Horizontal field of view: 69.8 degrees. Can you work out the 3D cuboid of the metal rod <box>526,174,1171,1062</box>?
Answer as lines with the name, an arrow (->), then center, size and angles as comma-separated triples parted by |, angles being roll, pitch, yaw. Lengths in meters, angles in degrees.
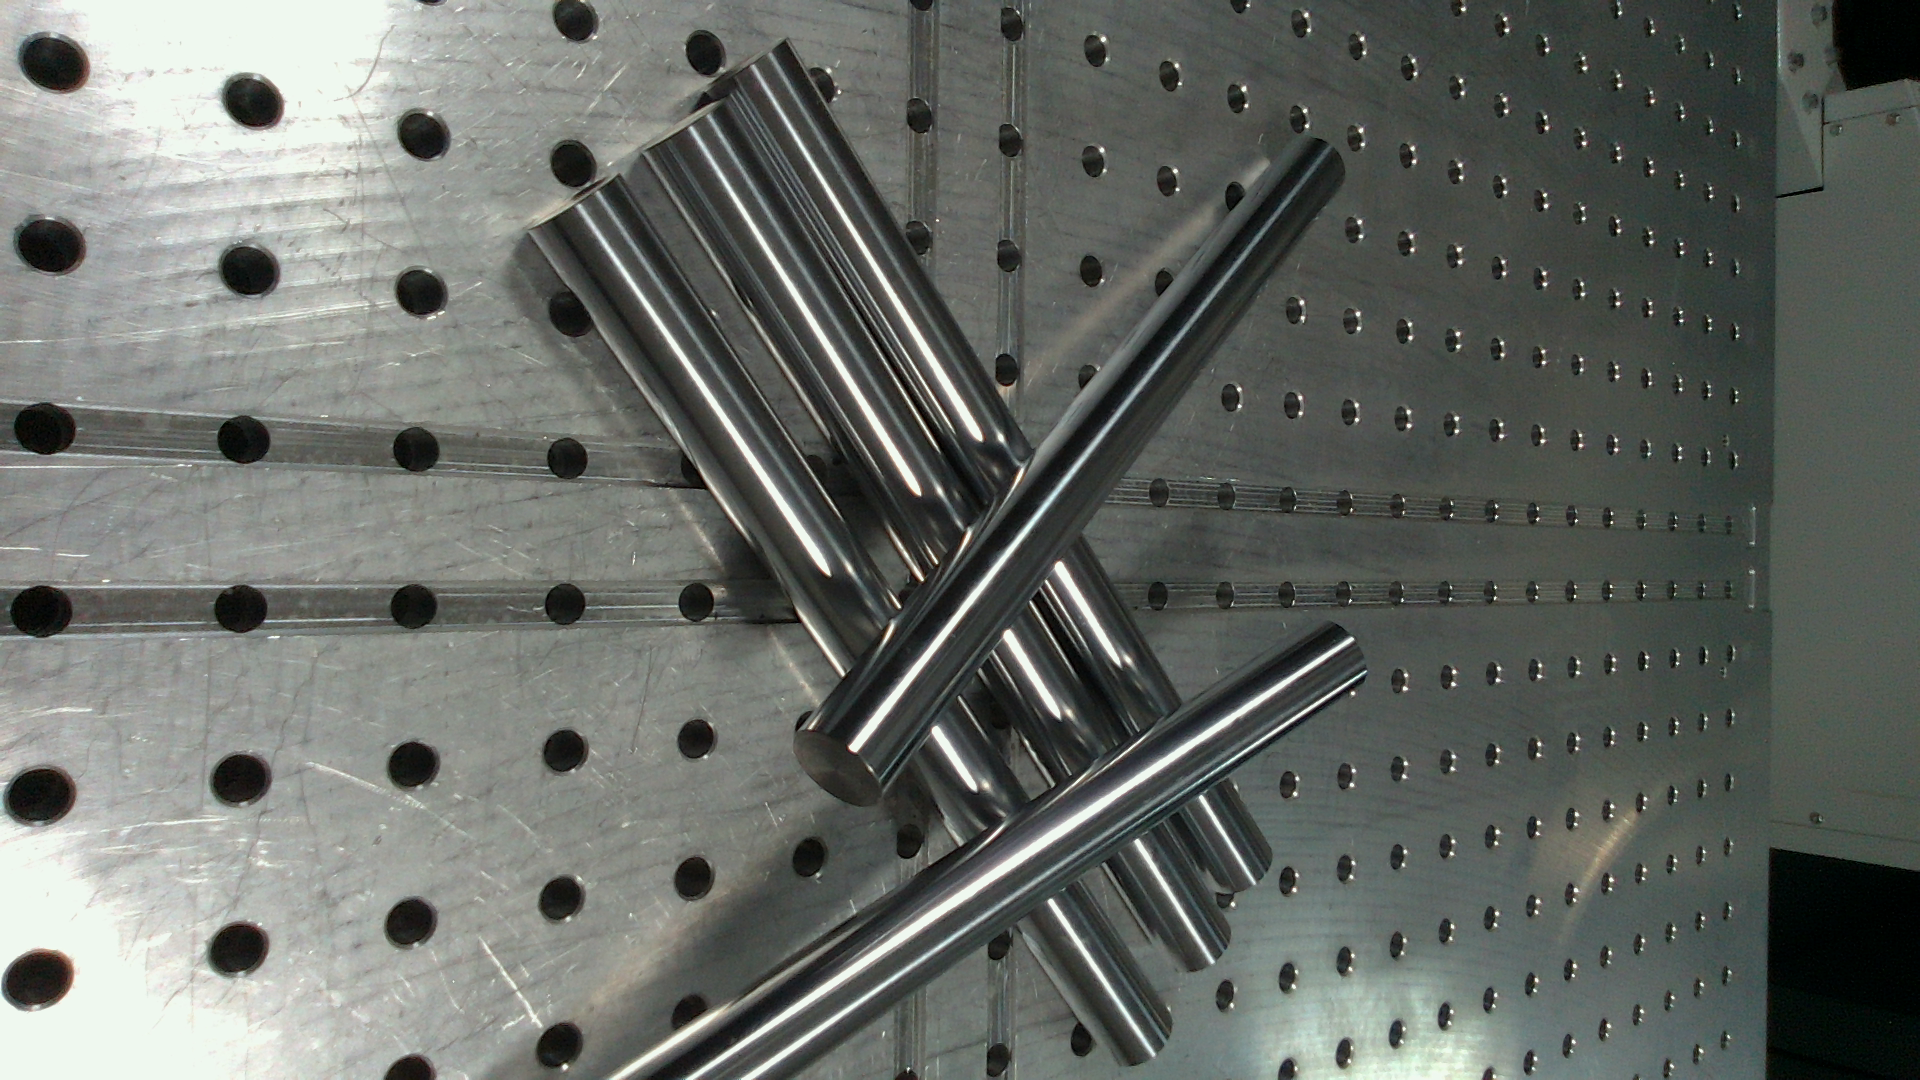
metal rod -> -0.017, 0.039, 0.378 | 0.025, 0.025, 0.300 | -47, 118, -30

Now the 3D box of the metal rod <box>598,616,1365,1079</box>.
metal rod -> 0.000, 0.096, 0.365 | 0.301, 0.025, 0.025 | -27, 107, -28

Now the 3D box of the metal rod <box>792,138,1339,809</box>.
metal rod -> 0.048, -0.040, 0.405 | 0.301, 0.025, 0.025 | -51, 120, -37

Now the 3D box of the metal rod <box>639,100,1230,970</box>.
metal rod -> 0.005, 0.016, 0.396 | 0.025, 0.025, 0.300 | -47, 118, -30

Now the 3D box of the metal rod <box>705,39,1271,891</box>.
metal rod -> 0.020, -0.005, 0.409 | 0.025, 0.025, 0.301 | -48, 118, -29
